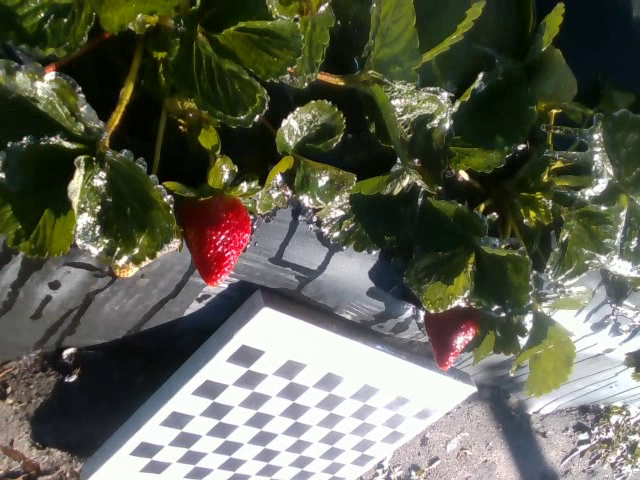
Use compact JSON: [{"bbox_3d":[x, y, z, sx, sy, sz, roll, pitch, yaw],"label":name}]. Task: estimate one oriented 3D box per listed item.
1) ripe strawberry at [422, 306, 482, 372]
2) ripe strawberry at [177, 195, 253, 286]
[{"bbox_3d":[0.107,0.082,0.482,0.048,0.061,0.044,20,1,-33],"label":"ripe strawberry"},{"bbox_3d":[-0.065,0.003,0.355,0.042,0.061,0.046,13,-5,-29],"label":"ripe strawberry"}]
